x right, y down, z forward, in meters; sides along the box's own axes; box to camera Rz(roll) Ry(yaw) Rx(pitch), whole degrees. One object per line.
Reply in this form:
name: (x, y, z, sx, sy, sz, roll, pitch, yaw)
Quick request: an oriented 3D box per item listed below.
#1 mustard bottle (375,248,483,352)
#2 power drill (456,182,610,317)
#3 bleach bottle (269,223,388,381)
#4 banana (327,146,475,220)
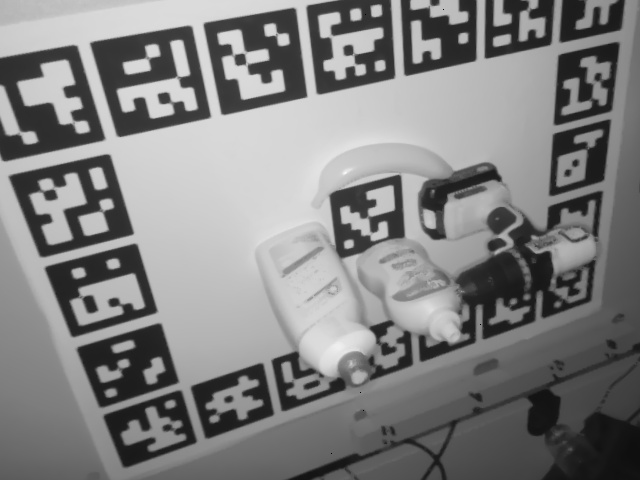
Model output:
mustard bottle: (0.142, 0.078, 0.843, 0.097, 0.191, 0.058, -13, 119, -12)
power drill: (0.237, 0.008, 0.824, 0.186, 0.187, 0.057, -16, 126, -9)
bleach bottle: (0.018, 0.068, 0.768, 0.103, 0.250, 0.067, -22, 119, -8)
banana: (0.099, -0.077, 0.839, 0.199, 0.038, 0.074, -12, 114, -17)
